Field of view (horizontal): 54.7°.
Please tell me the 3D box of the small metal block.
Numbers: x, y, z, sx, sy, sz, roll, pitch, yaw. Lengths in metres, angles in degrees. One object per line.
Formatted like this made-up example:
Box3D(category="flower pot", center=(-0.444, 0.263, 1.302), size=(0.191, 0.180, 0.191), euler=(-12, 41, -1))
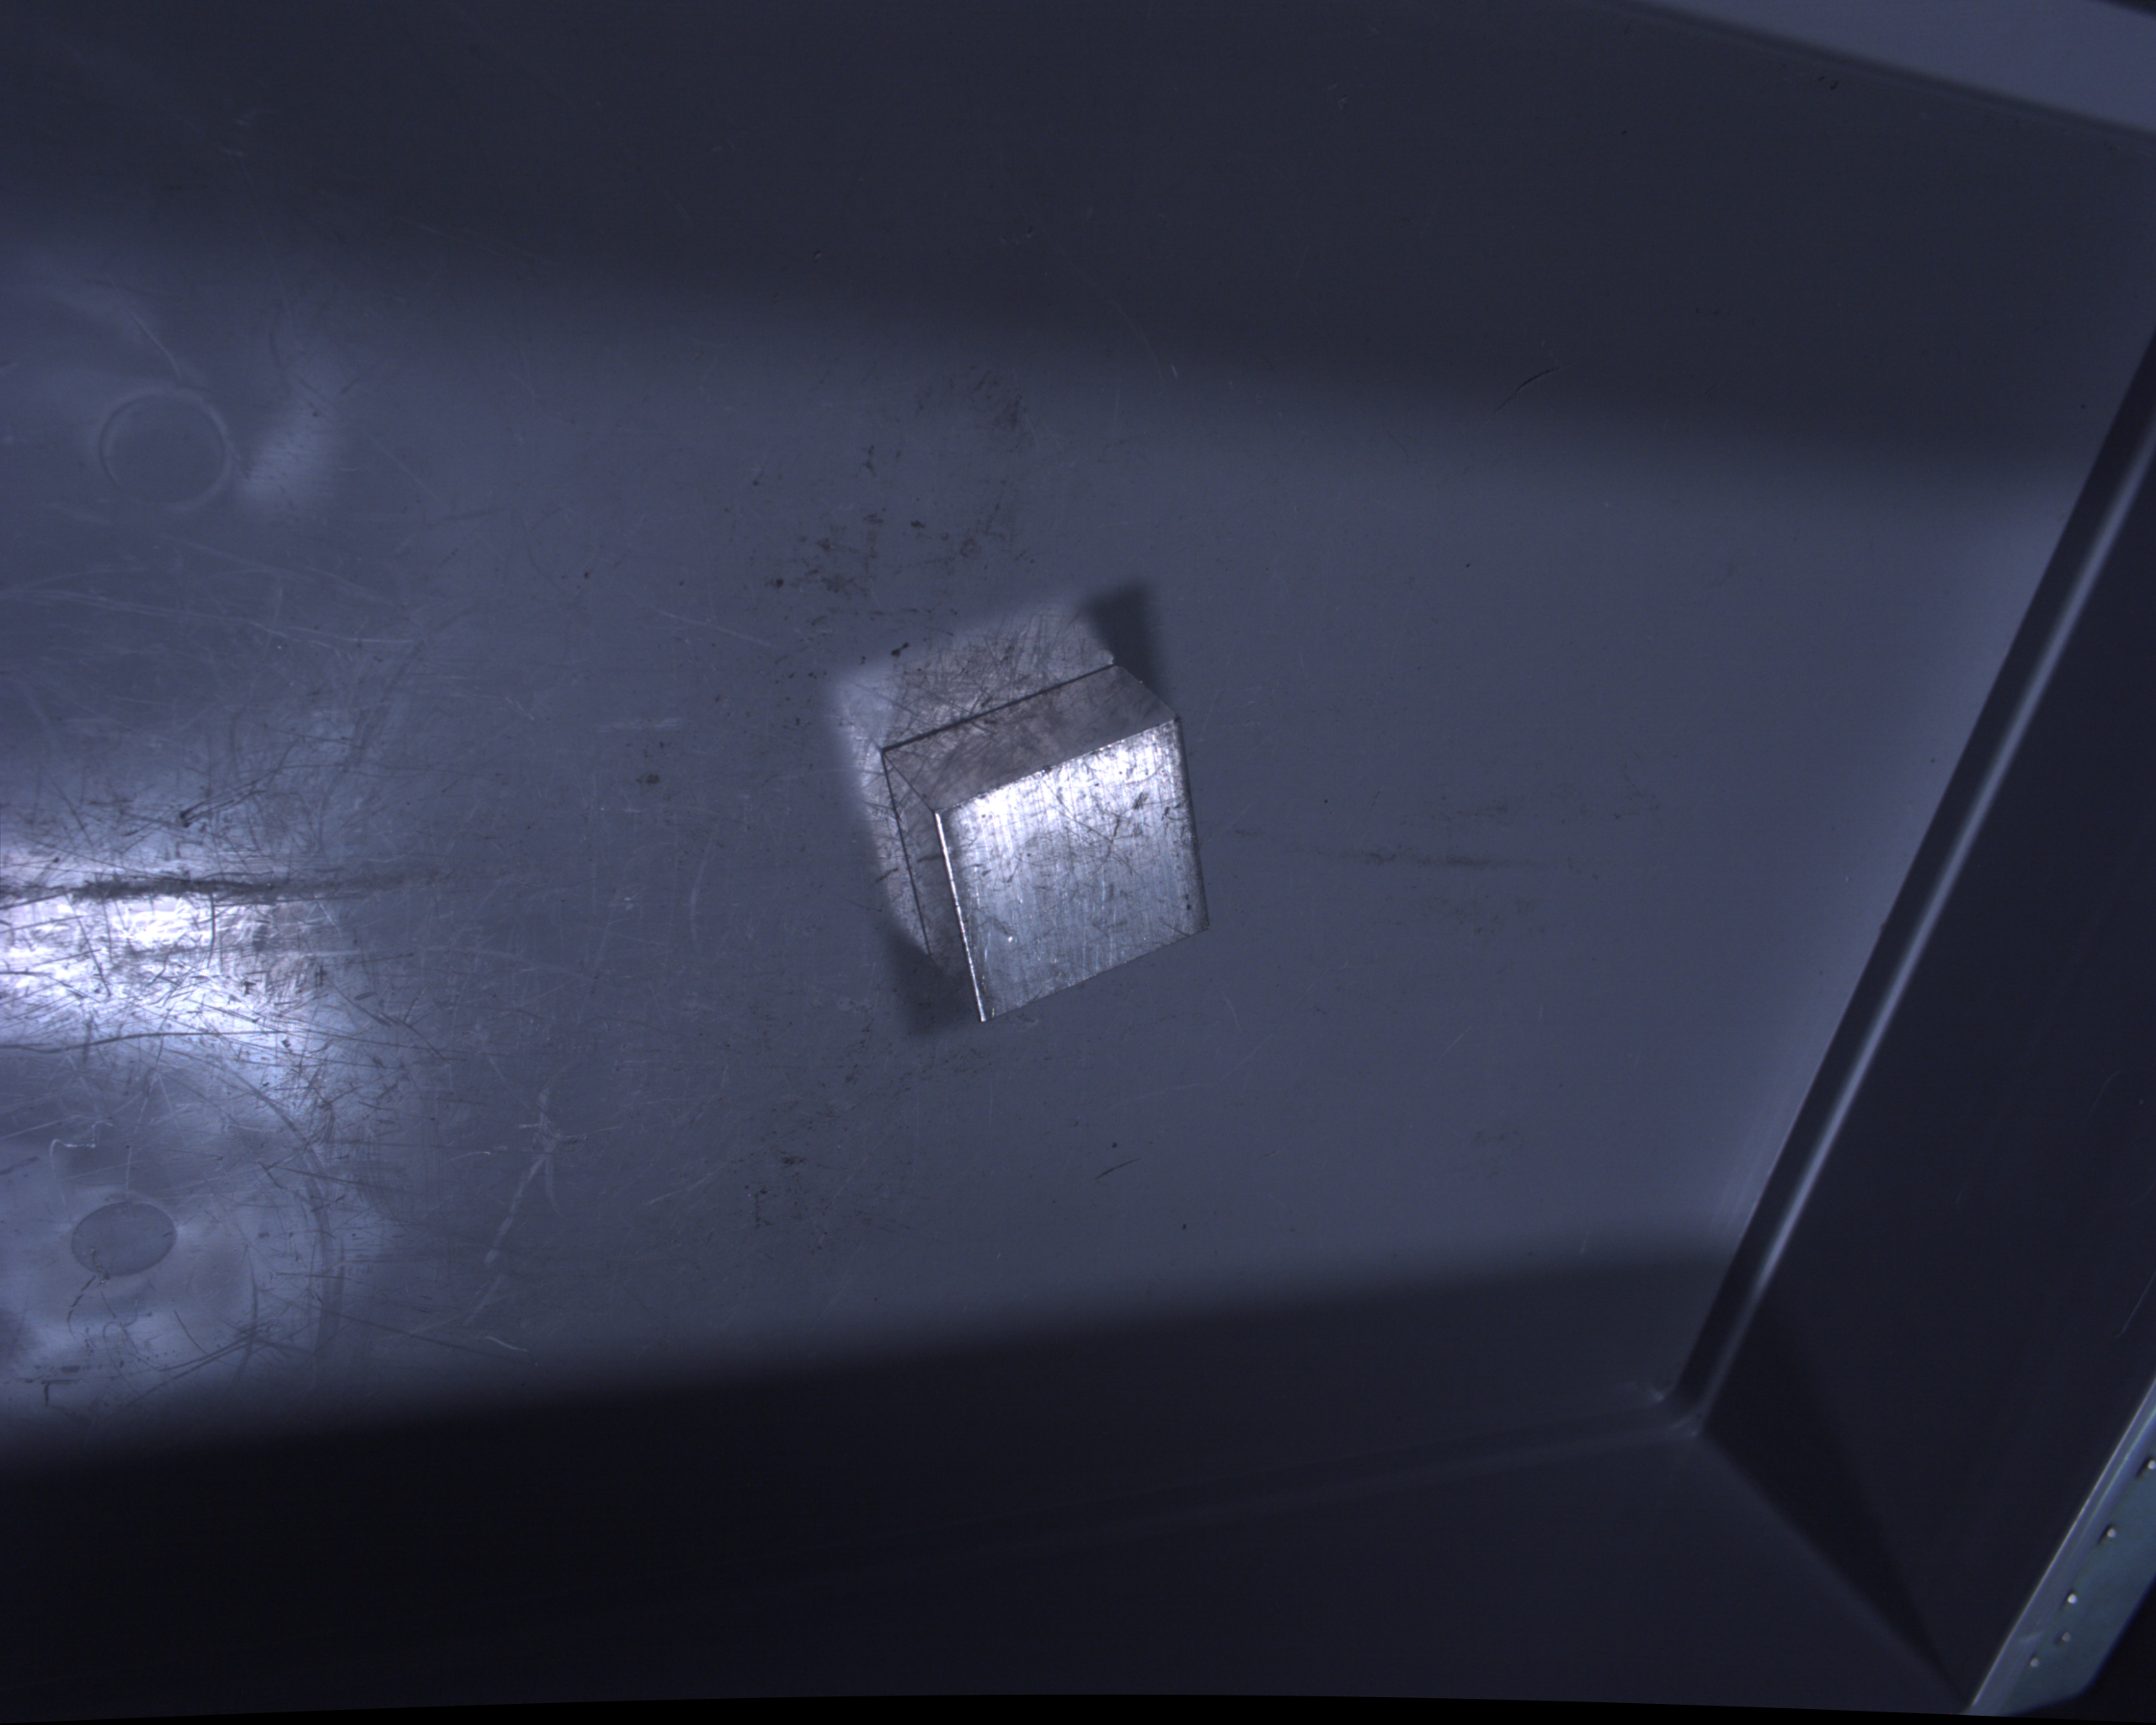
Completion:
Box3D(category="small metal block", center=(-0.005, -0.004, 0.400), size=(0.050, 0.025, 0.050), euler=(-21, 127, -16))
